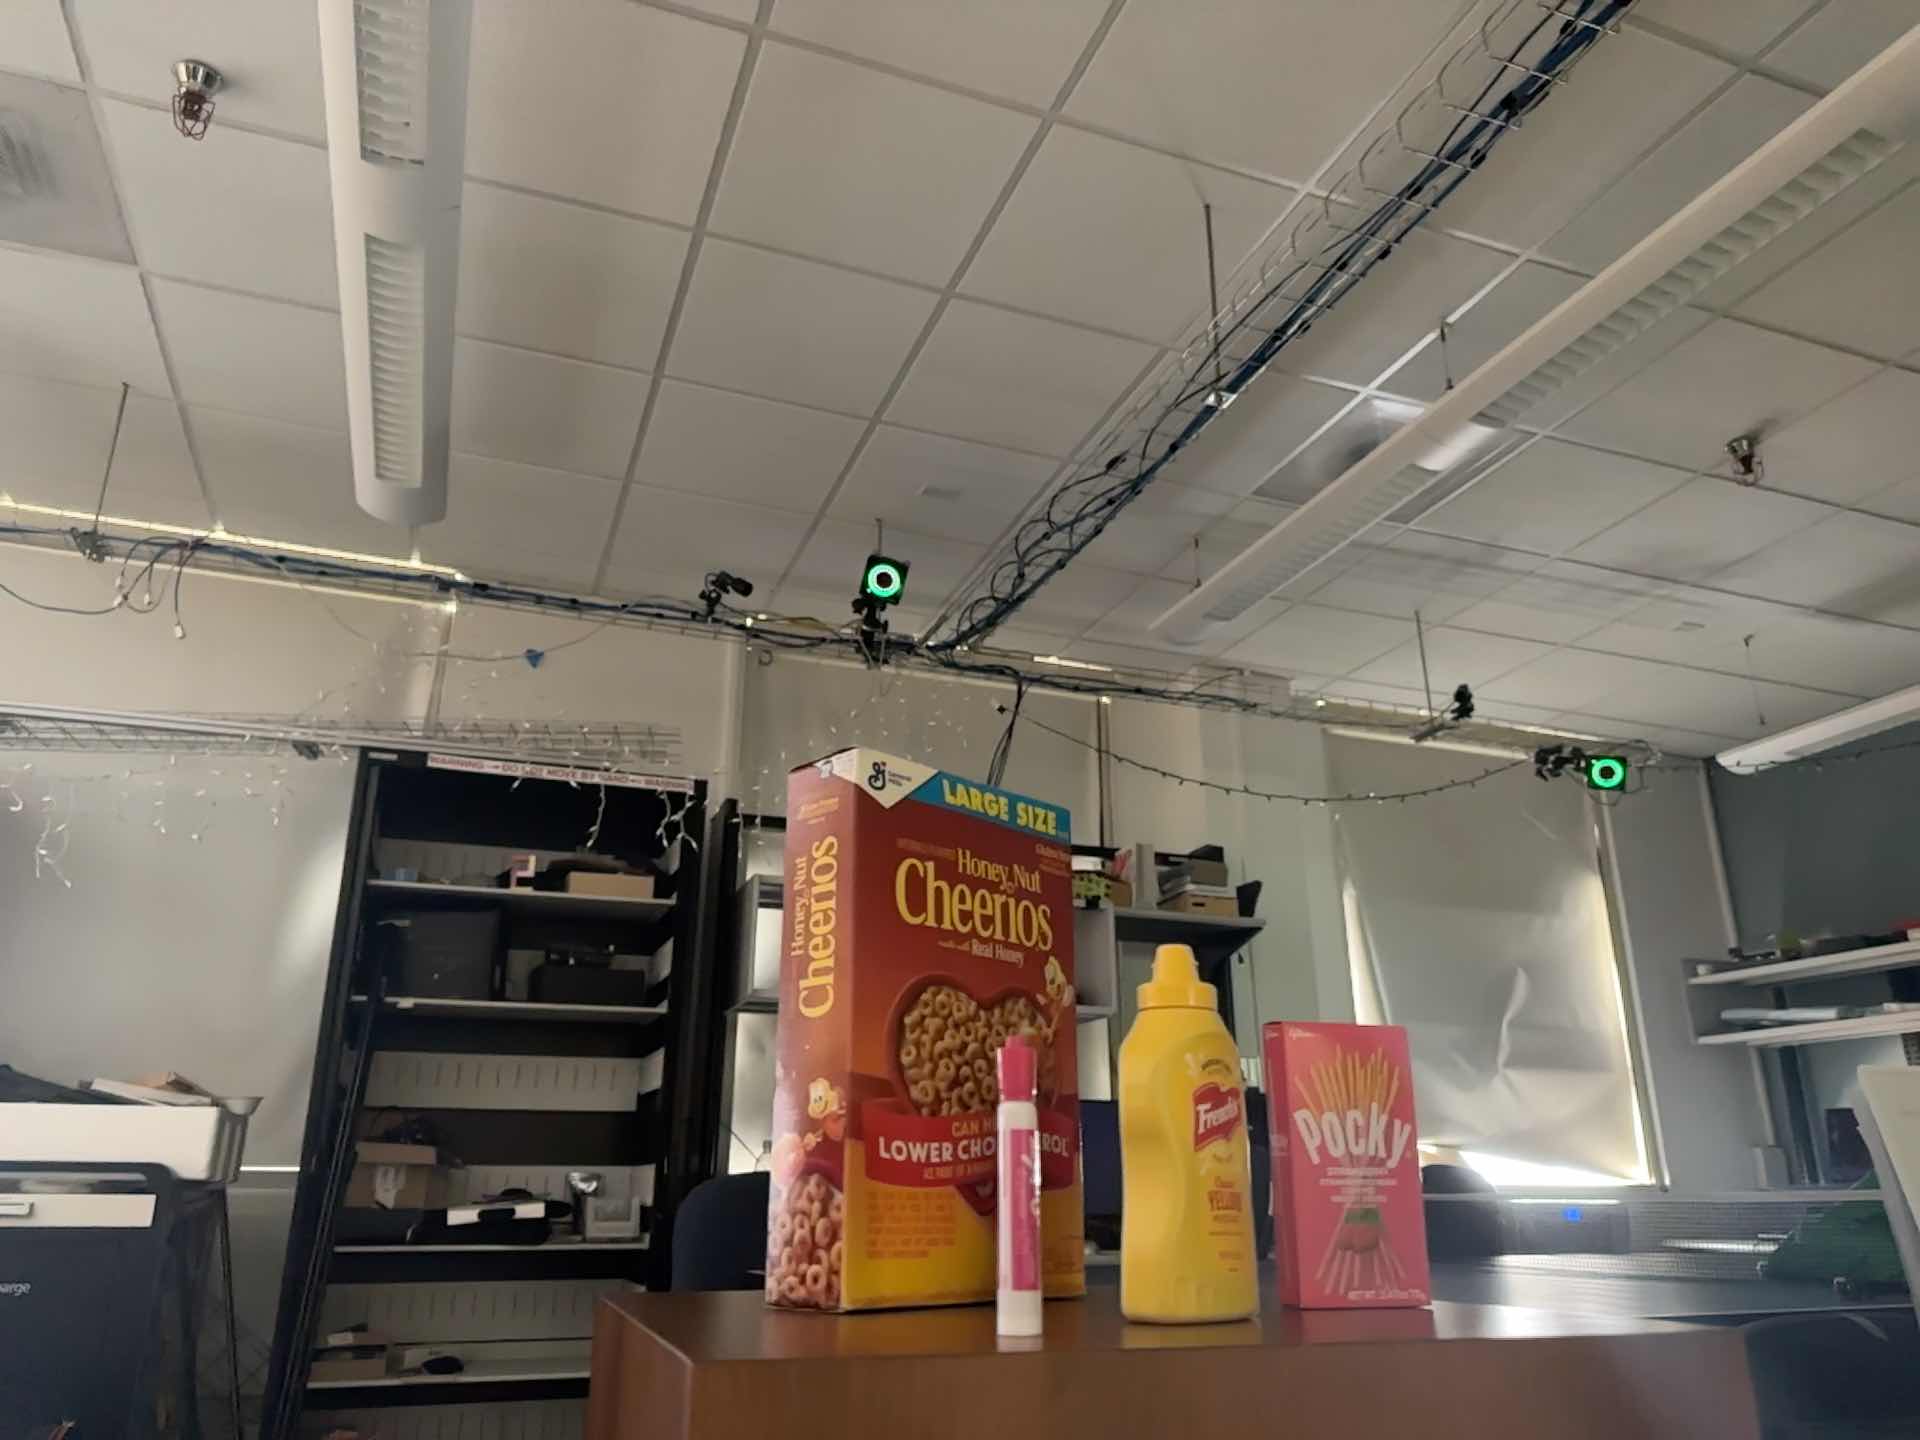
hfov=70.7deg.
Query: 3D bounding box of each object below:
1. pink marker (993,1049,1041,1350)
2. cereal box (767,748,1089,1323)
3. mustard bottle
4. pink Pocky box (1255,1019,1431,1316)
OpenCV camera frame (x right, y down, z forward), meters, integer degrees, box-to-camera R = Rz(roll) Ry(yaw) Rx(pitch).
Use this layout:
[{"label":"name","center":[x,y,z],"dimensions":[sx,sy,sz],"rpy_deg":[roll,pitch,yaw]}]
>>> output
[{"label":"pink marker","center":[0.024,0.203,0.581],"dimensions":[0.020,0.121,0.020],"rpy_deg":[0,-19,0]},{"label":"cereal box","center":[-0.013,0.185,0.808],"dimensions":[0.065,0.296,0.195],"rpy_deg":[-15,-24,38]},{"label":"mustard bottle","center":[0.108,0.204,0.674],"dimensions":[0.092,0.184,0.054],"rpy_deg":[16,-23,-42]},{"label":"pink Pocky box","center":[0.212,0.247,0.757],"dimensions":[0.084,0.154,0.029],"rpy_deg":[6,-19,-21]}]
